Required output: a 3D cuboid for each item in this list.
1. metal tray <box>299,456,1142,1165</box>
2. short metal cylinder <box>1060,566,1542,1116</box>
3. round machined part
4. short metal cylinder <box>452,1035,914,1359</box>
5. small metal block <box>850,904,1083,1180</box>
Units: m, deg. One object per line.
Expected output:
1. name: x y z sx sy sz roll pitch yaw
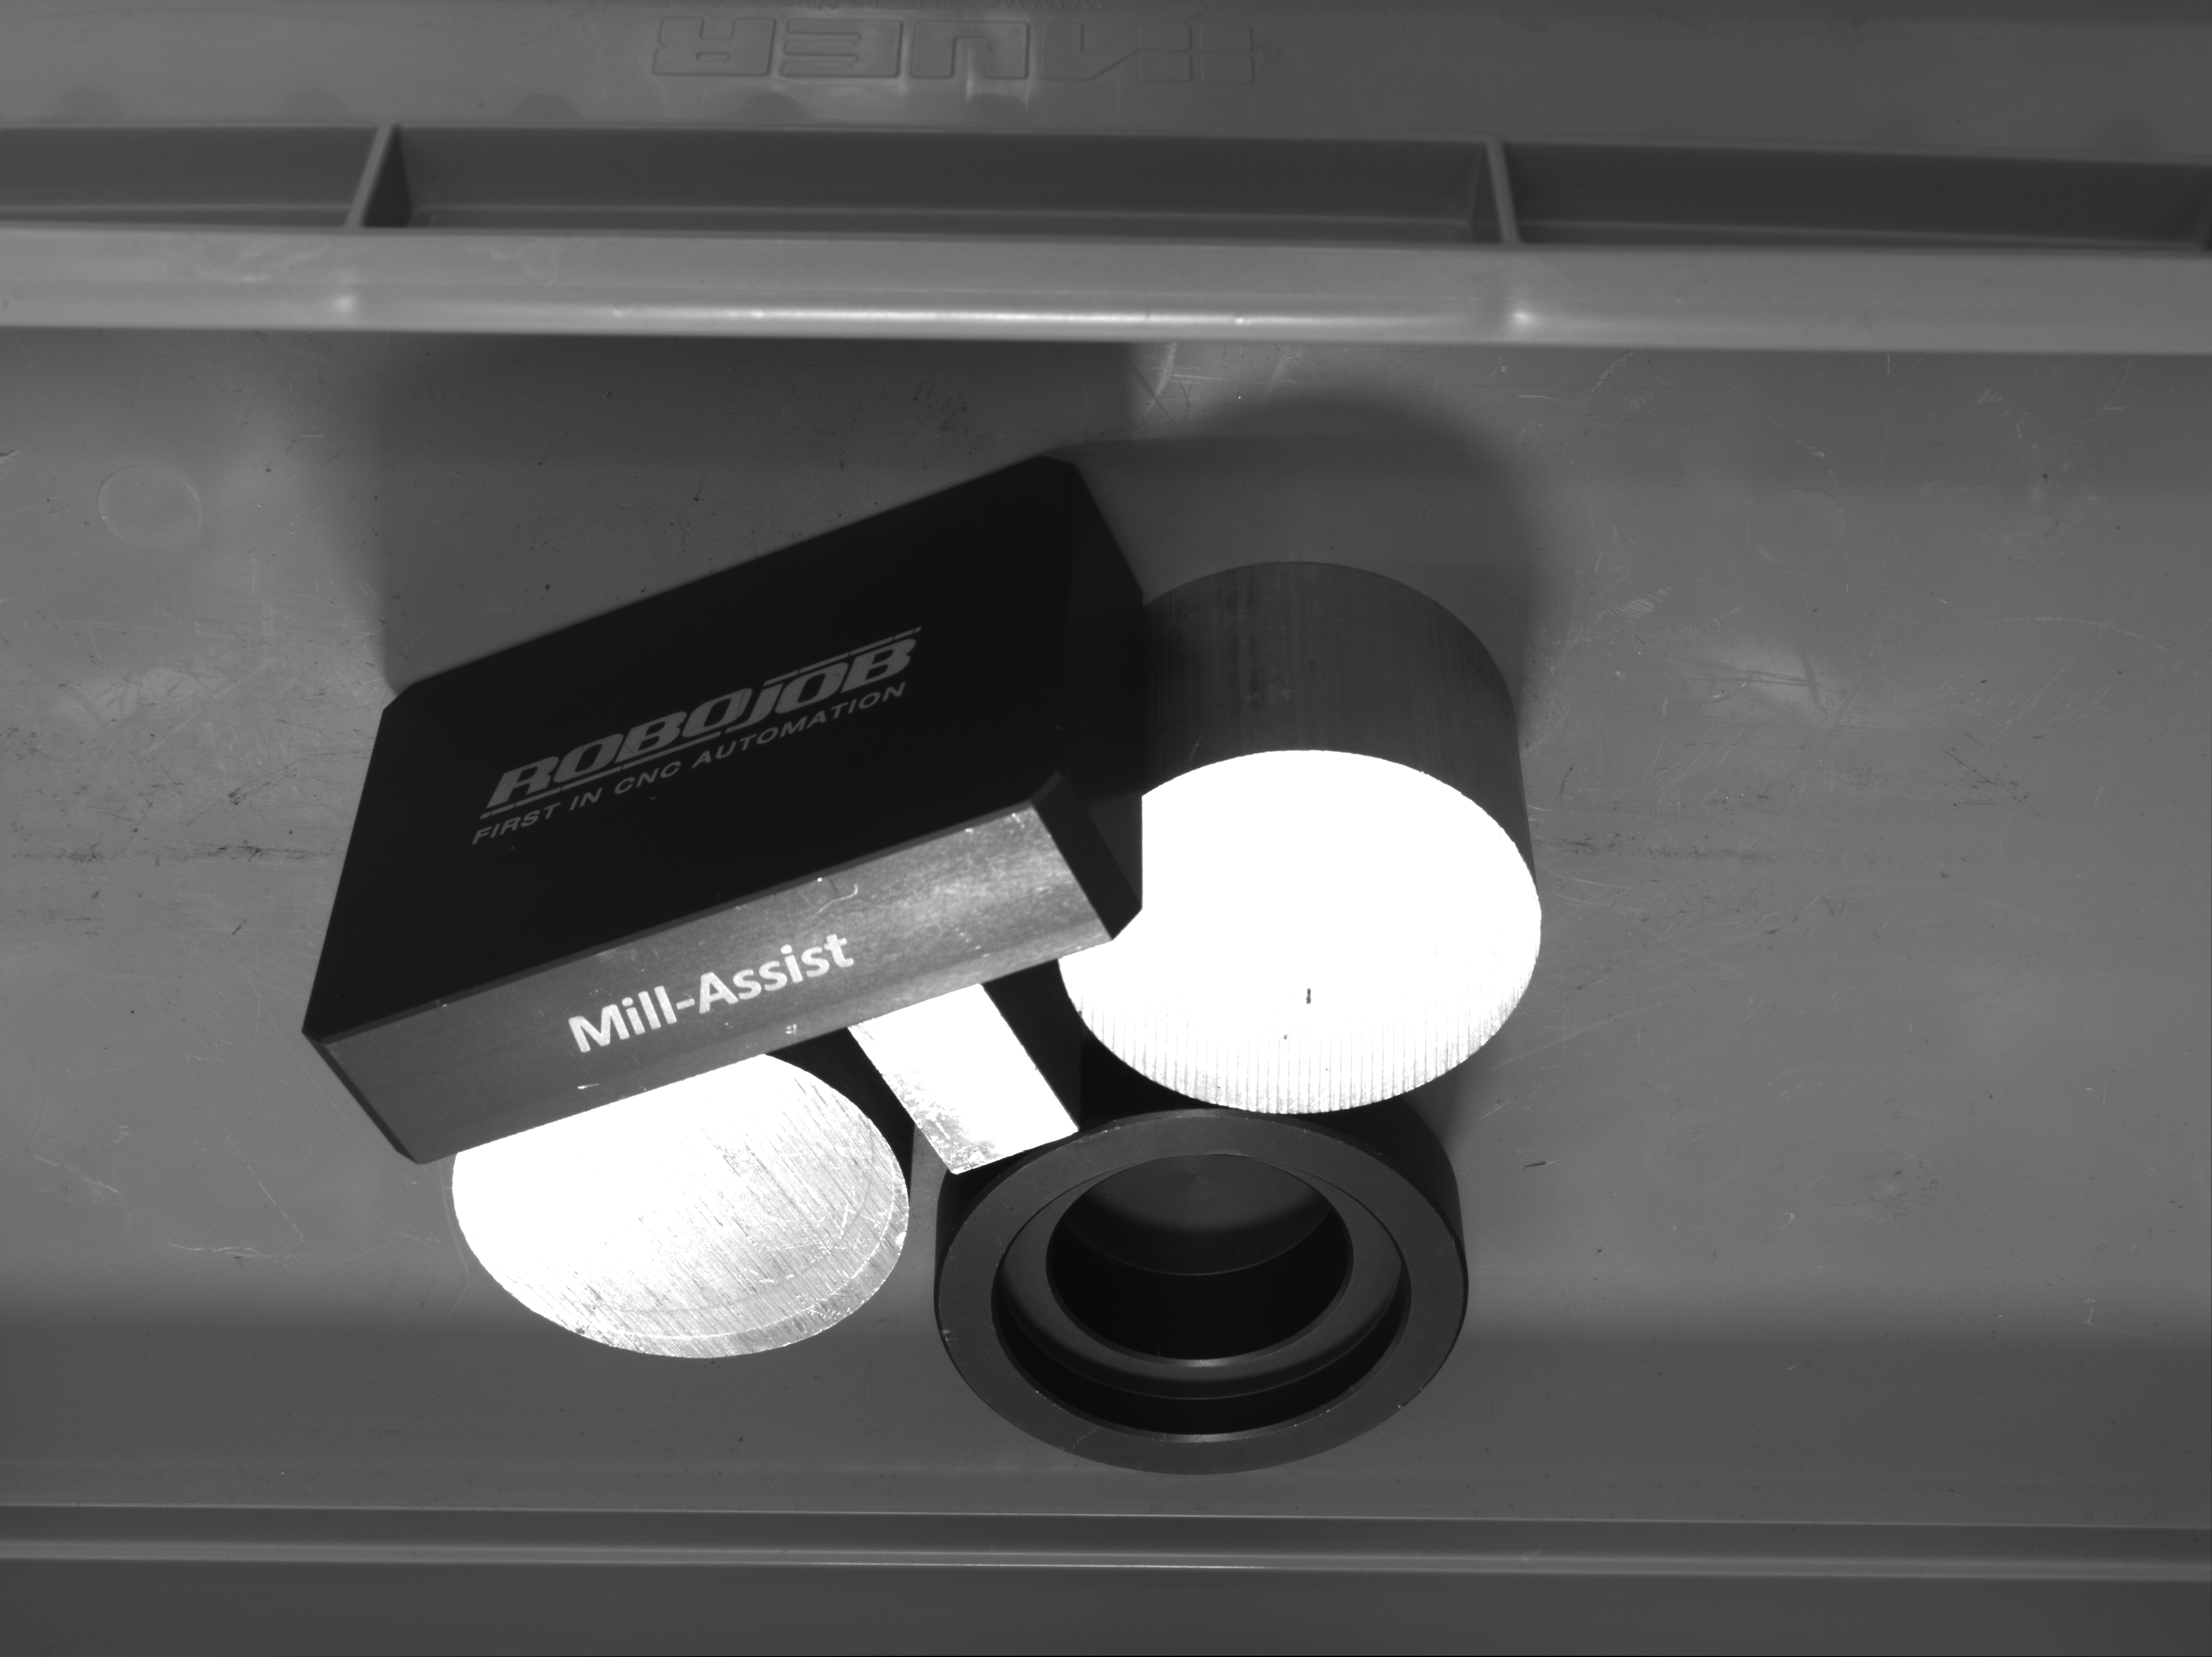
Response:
1. metal tray: -0.060 -0.004 0.591 0.130 0.090 0.030 -18 128 15
2. short metal cylinder: 0.032 0.003 0.624 0.080 0.050 0.080 0 130 0
3. round machined part: 0.018 0.074 0.688 0.098 0.042 0.098 0 130 0
4. short metal cylinder: -0.074 0.050 0.663 0.080 0.050 0.080 0 130 0
5. small metal block: -0.026 0.024 0.641 0.025 0.050 0.050 -20 127 16
